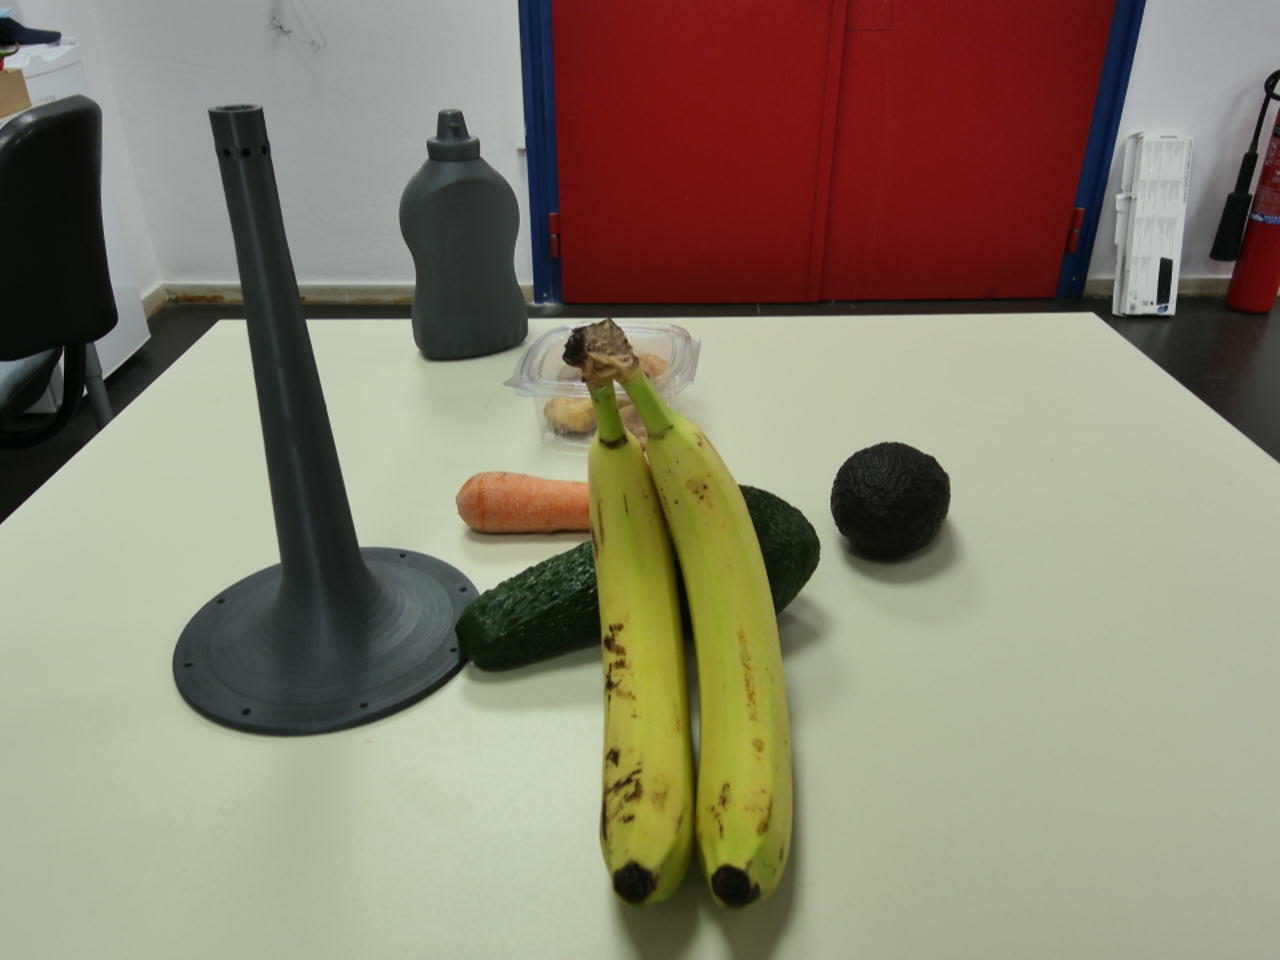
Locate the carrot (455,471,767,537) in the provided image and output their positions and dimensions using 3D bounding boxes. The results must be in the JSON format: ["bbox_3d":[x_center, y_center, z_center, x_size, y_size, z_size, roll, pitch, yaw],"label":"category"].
[{"bbox_3d":[-0.017,0.015,0.629,0.196,0.041,0.039,0,27,0],"label":"carrot"}]
